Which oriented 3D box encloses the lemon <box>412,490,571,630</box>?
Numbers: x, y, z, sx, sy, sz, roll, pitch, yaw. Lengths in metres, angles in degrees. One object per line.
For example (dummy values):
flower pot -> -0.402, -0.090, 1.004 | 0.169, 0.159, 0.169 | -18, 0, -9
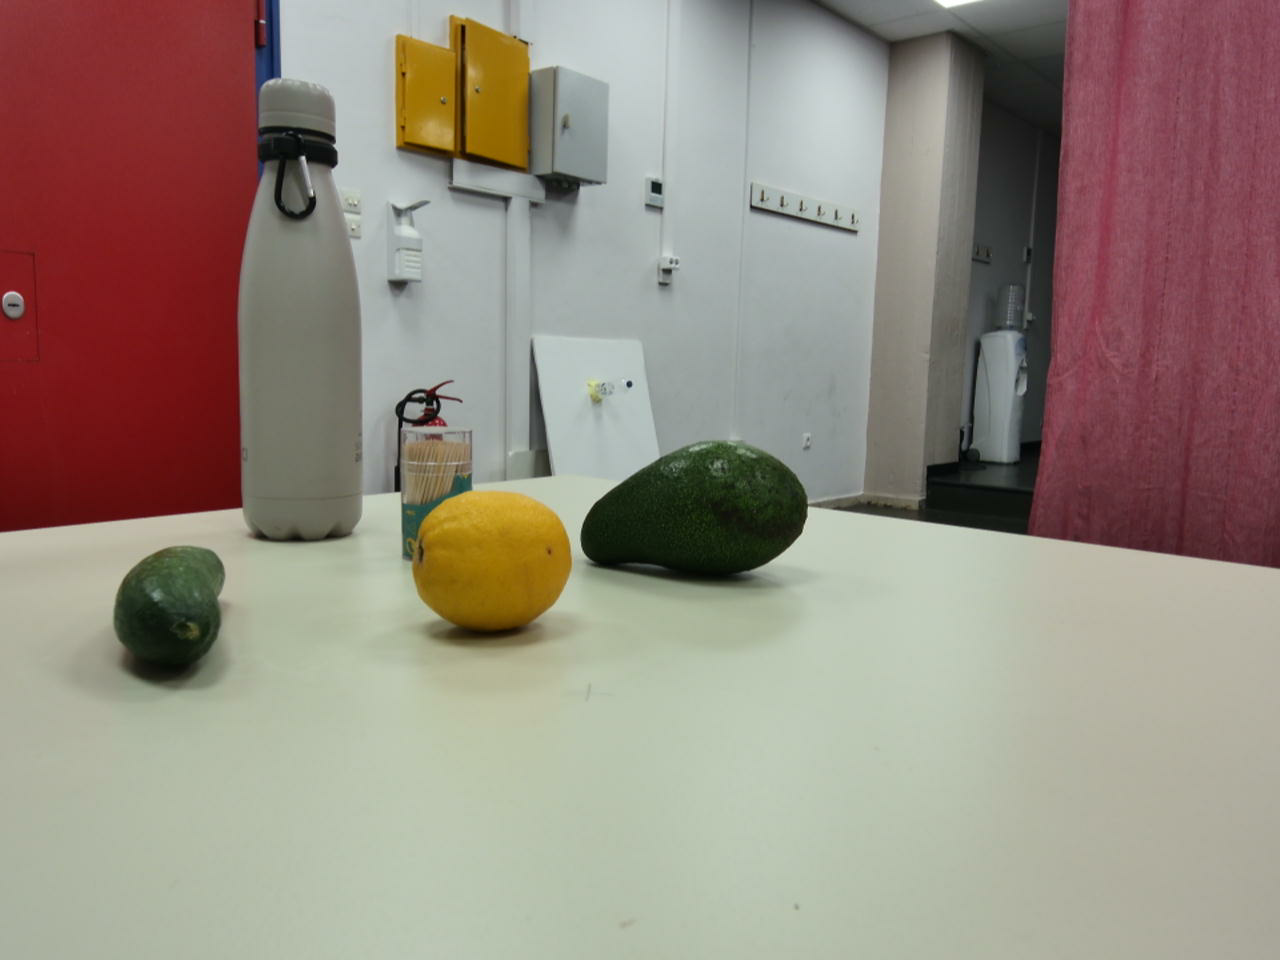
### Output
lemon -> -0.063, 0.034, 0.428 | 0.067, 0.059, 0.061 | 0, 5, -8
